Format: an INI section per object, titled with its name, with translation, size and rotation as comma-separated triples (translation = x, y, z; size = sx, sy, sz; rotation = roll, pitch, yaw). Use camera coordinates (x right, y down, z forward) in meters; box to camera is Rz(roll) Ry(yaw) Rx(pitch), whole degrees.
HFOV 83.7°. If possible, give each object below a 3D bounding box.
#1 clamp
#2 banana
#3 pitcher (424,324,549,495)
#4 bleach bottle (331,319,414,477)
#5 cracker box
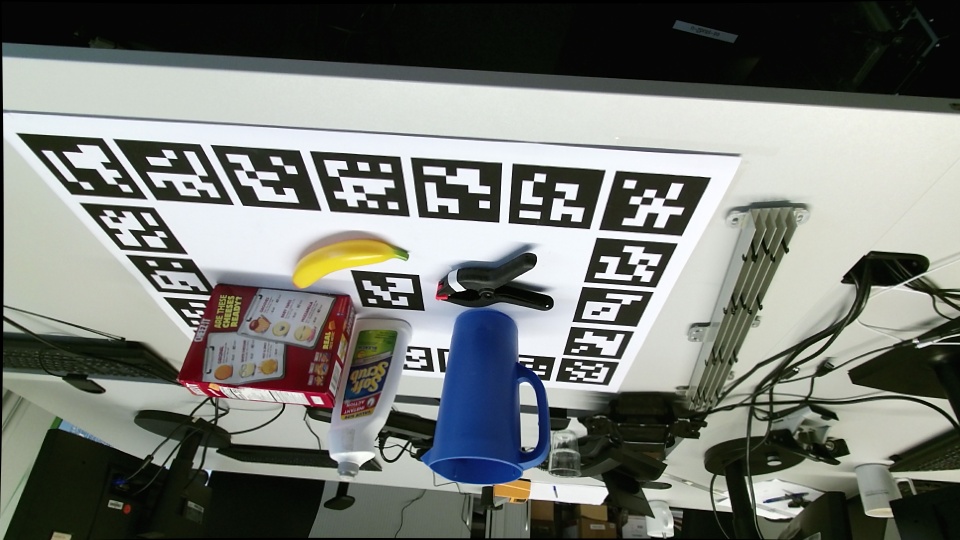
[clamp]
translation = 0.013, 0.029, 0.780
size = 0.165, 0.036, 0.122
rotation = -5, 145, 16
[banana]
translation = -0.206, -0.006, 0.771
size = 0.198, 0.038, 0.074
rotation = -18, 139, 29
[pitcher]
translation = 0.013, 0.207, 0.815
size = 0.189, 0.241, 0.133
rotation = -5, 144, 19
[bleach bottle]
translation = -0.174, 0.202, 0.864
size = 0.103, 0.249, 0.068
rotation = 4, 145, 2
[cracker box]
translation = -0.325, 0.125, 0.824
size = 0.214, 0.163, 0.072
rotation = 4, 147, -1
